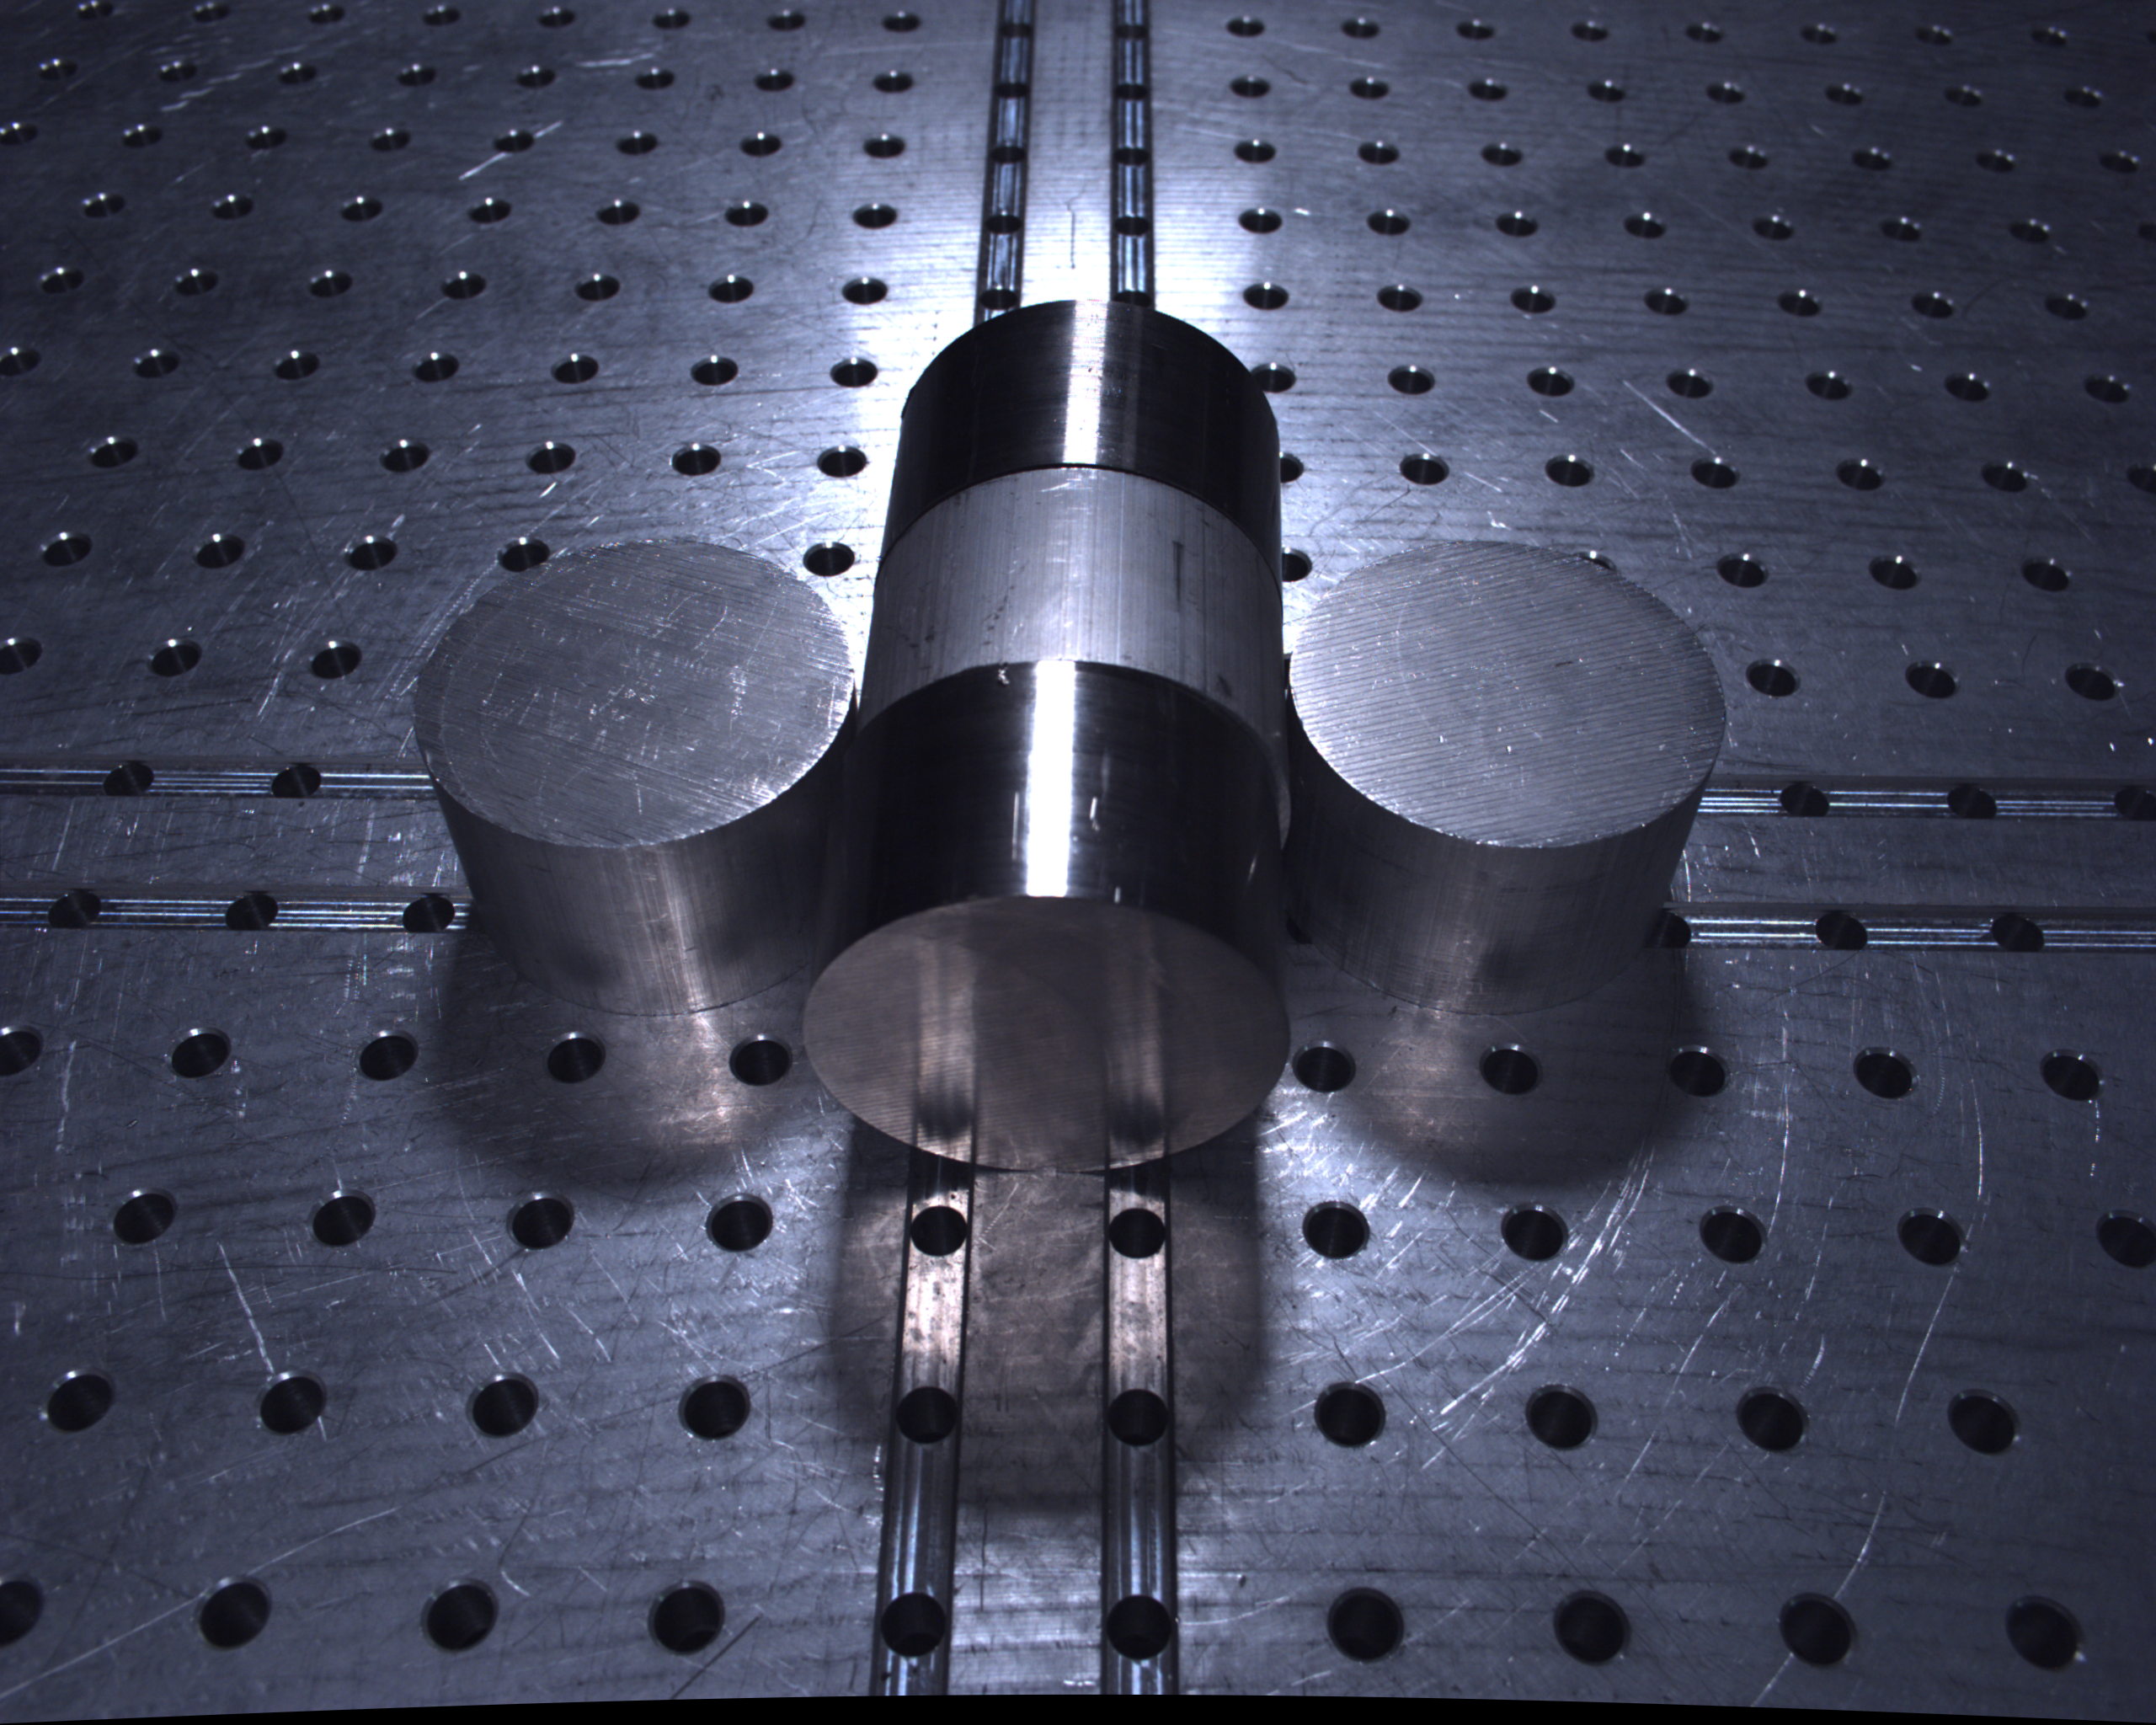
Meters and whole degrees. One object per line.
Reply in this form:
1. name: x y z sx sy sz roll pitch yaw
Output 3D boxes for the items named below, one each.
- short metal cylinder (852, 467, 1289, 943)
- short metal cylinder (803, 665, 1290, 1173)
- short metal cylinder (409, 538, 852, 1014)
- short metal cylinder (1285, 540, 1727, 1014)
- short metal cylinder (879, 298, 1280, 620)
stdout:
1. short metal cylinder: -0.001 -0.028 0.395 0.081 0.080 0.050 2 50 1
2. short metal cylinder: -0.005 0.012 0.362 0.081 0.080 0.050 1 50 0
3. short metal cylinder: -0.082 -0.018 0.404 0.081 0.050 0.080 0 50 0
4. short metal cylinder: 0.079 -0.017 0.406 0.081 0.050 0.080 0 50 0
5. short metal cylinder: 0.001 -0.067 0.427 0.081 0.080 0.050 2 50 1
